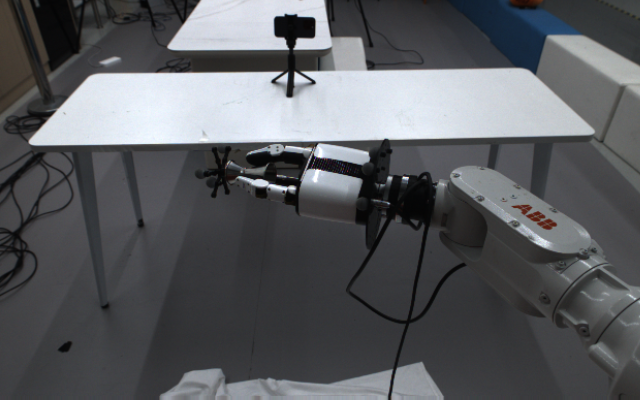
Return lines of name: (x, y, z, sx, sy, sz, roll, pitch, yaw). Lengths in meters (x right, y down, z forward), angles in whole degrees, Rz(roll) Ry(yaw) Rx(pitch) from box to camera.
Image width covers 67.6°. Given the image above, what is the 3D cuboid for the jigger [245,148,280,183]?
jigger: (-0.098, -0.045, 0.739, 0.071, 0.043, 0.043, 5, 34, 18)
